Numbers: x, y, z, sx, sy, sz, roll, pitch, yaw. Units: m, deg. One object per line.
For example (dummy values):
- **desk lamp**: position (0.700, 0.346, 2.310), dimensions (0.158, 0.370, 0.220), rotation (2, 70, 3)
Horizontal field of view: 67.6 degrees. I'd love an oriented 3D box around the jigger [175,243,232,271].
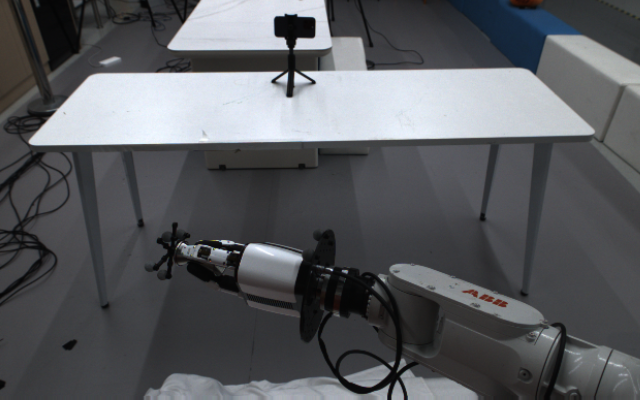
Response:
- **jigger**: position (-0.172, 0.082, 0.721), dimensions (0.071, 0.043, 0.043), rotation (10, 35, 16)
